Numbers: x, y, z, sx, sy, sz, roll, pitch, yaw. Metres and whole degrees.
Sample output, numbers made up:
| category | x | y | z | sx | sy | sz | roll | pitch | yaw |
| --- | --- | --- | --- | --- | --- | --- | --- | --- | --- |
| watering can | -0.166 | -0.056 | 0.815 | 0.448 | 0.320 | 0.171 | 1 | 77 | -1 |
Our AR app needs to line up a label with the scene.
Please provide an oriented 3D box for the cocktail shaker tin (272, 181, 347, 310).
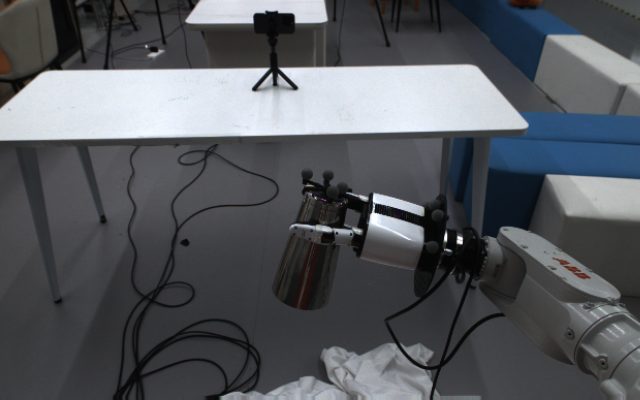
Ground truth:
| category | x | y | z | sx | sy | sz | roll | pitch | yaw |
| --- | --- | --- | --- | --- | --- | --- | --- | --- | --- |
| cocktail shaker tin | -0.009 | 0.068 | 0.740 | 0.093 | 0.170 | 0.093 | 14 | 18 | -5 |
